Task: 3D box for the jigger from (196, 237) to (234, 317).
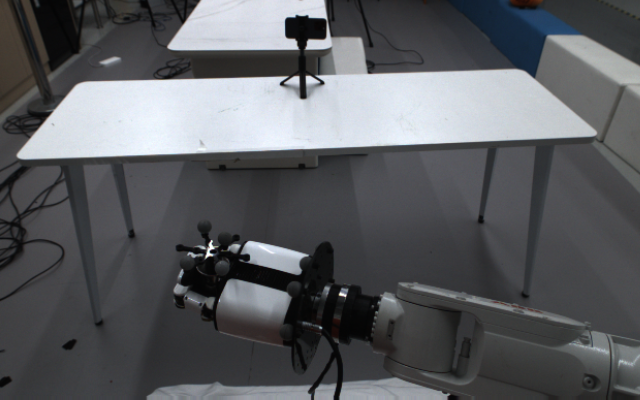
[{"bbox_3d":[-0.131,0.106,0.607,0.043,0.071,0.043,6,32,-4],"label":"jigger"}]
